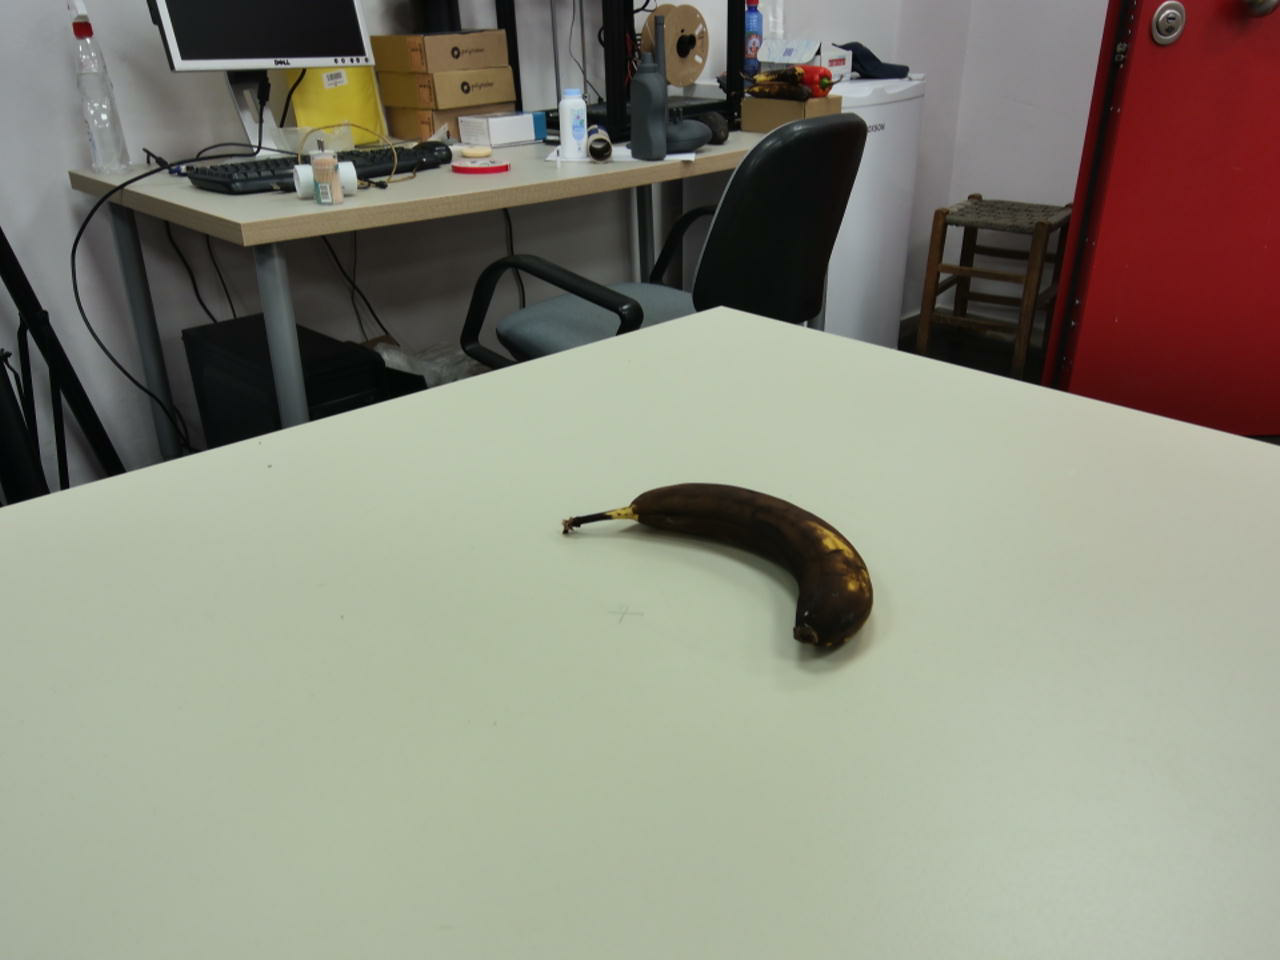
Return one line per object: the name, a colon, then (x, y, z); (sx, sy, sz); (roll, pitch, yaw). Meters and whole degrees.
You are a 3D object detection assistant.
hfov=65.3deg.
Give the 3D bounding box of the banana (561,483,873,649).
banana: (0.052, 0.032, 0.532); (0.091, 0.034, 0.188); (-18, 30, -36)
